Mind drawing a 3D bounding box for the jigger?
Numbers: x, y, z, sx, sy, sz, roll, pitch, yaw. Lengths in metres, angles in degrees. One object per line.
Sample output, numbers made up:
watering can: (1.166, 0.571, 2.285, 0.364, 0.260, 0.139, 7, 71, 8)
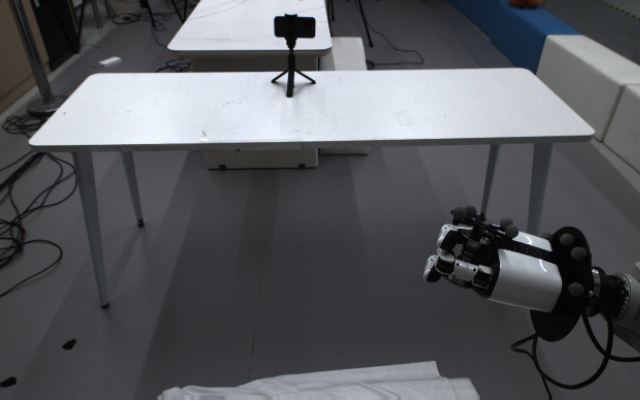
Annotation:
jigger: (0.203, 0.079, 0.666, 0.043, 0.071, 0.043, 15, 16, -5)
